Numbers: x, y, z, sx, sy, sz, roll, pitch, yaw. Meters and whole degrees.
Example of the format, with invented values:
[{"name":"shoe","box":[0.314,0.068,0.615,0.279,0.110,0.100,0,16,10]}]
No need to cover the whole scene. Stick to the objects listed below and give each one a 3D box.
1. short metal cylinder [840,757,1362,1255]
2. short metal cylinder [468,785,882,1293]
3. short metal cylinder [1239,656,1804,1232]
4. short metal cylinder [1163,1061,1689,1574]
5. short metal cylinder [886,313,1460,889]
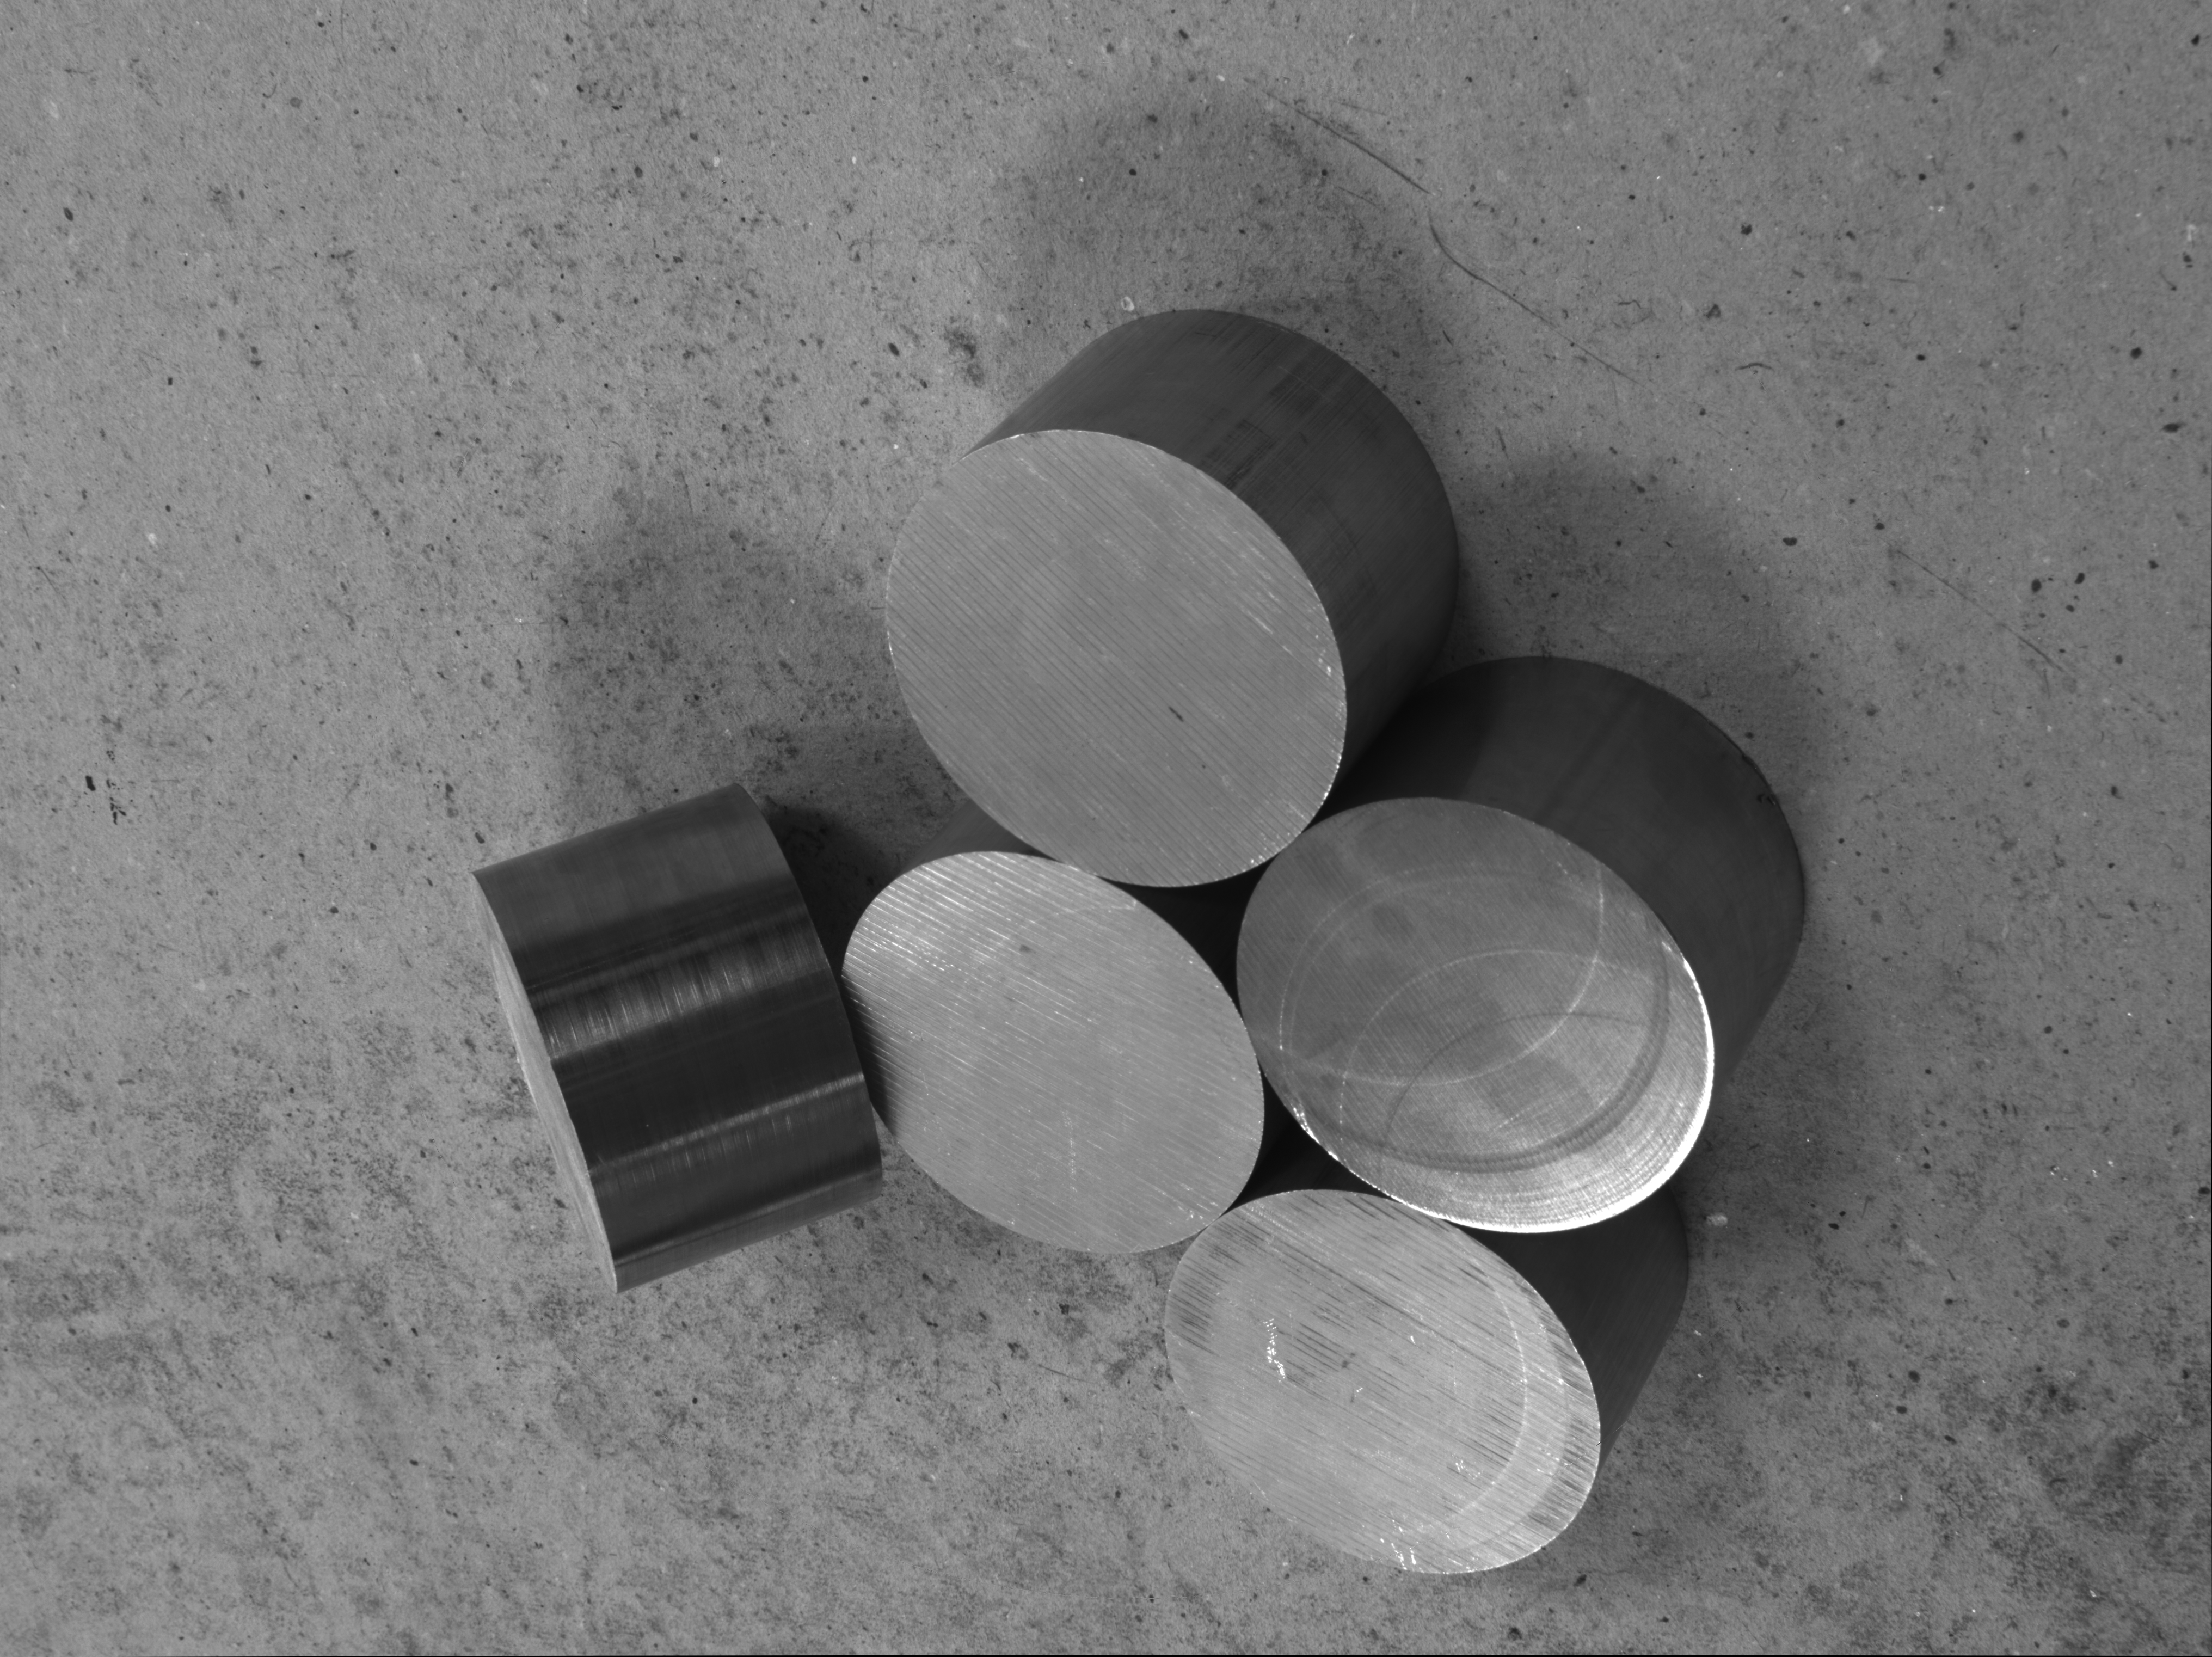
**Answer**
[{"name":"short metal cylinder","box":[0.000,0.027,0.643,0.080,0.050,0.080,13,124,21]},{"name":"short metal cylinder","box":[-0.079,0.038,0.665,0.080,0.050,0.080,160,90,-77]},{"name":"short metal cylinder","box":[0.068,0.019,0.601,0.080,0.050,0.080,13,124,21]},{"name":"short metal cylinder","box":[0.057,0.084,0.647,0.080,0.050,0.080,13,124,21]},{"name":"short metal cylinder","box":[0.011,-0.037,0.597,0.080,0.050,0.080,13,124,21]}]
